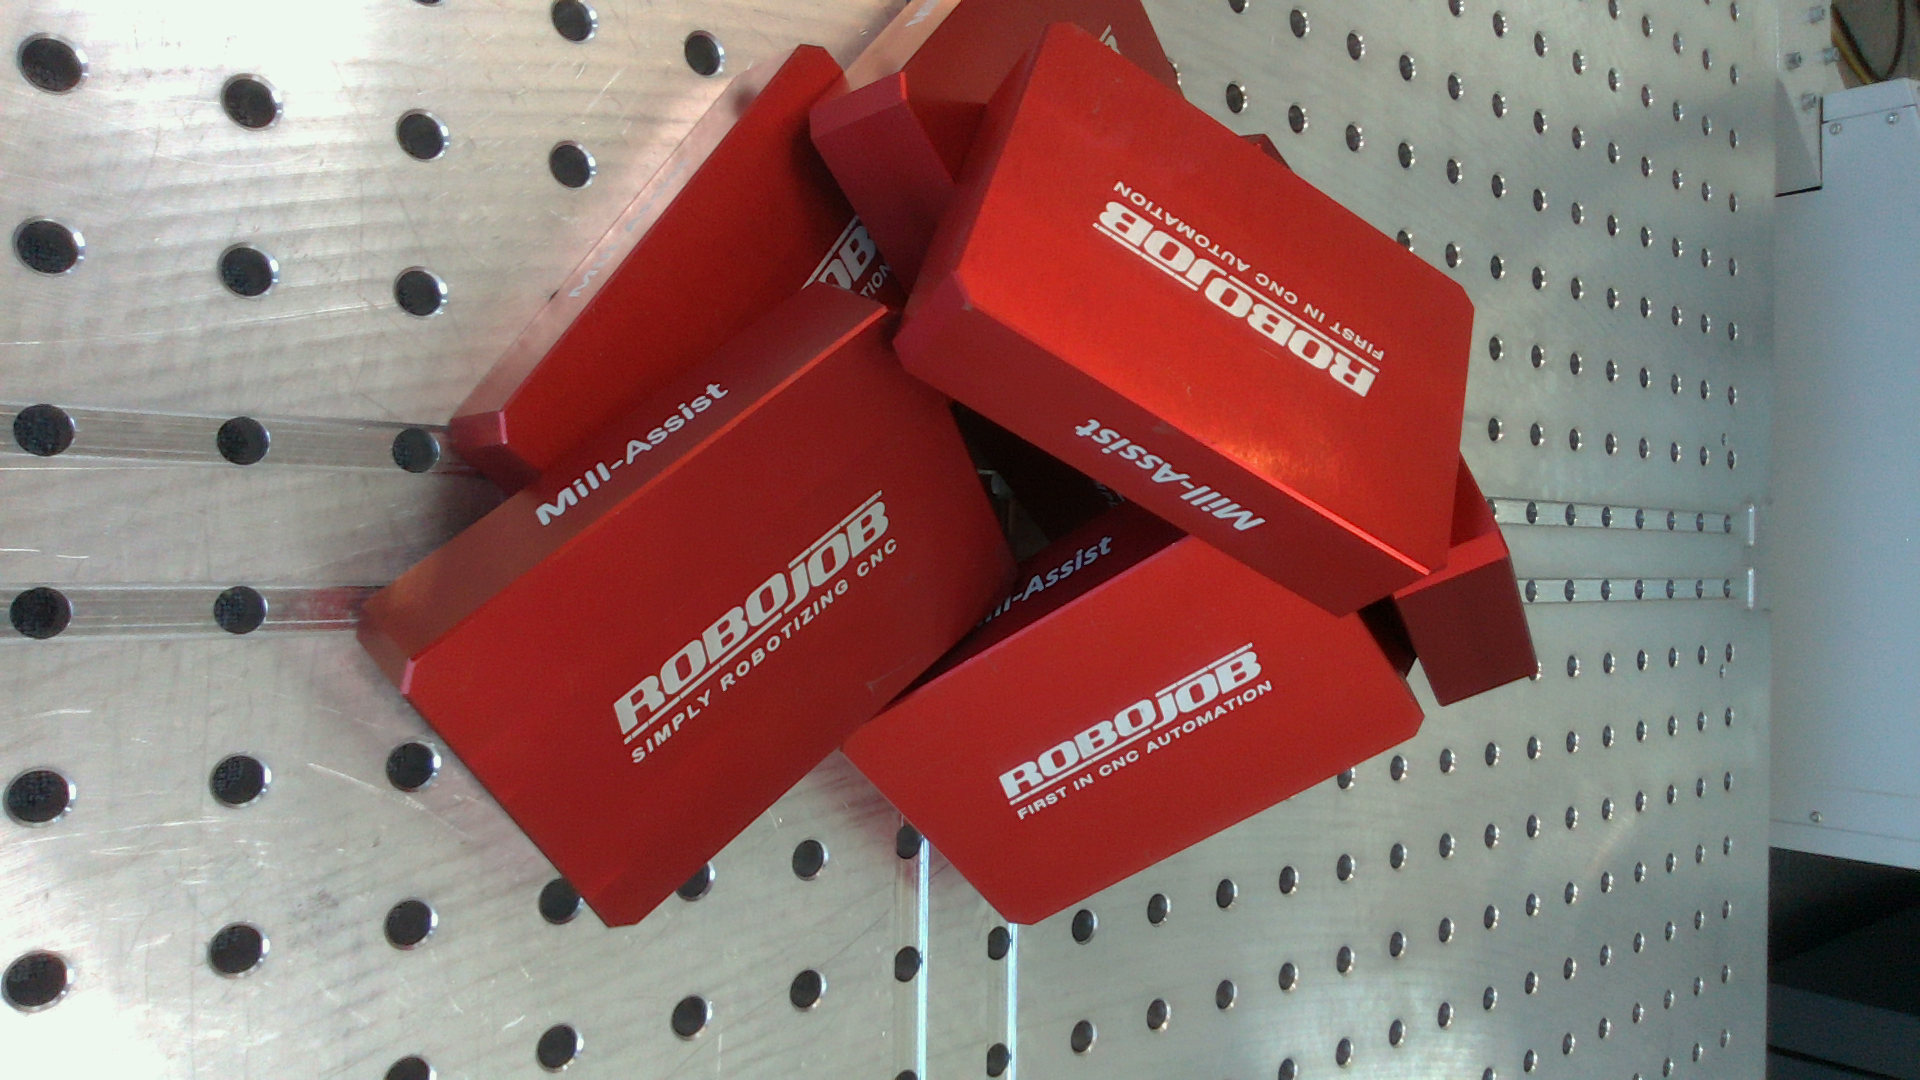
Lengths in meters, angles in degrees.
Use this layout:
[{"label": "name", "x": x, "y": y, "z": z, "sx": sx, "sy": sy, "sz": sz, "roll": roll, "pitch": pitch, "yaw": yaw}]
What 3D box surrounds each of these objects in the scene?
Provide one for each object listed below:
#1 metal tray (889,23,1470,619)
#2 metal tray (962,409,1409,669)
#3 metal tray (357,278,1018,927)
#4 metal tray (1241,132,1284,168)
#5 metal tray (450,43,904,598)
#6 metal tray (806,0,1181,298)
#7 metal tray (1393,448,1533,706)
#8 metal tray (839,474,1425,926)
[{"label": "metal tray", "x": 0.057, "y": -0.050, "z": 0.322, "sx": 0.130, "sy": 0.030, "sz": 0.090, "roll": 29, "pitch": 57, "yaw": -16}, {"label": "metal tray", "x": 0.070, "y": -0.006, "z": 0.408, "sx": 0.130, "sy": 0.090, "sz": 0.030, "roll": 52, "pitch": 60, "yaw": -27}, {"label": "metal tray", "x": -0.053, "y": 0.013, "z": 0.314, "sx": 0.130, "sy": 0.030, "sz": 0.090, "roll": -41, "pitch": 131, "yaw": -20}, {"label": "metal tray", "x": 0.096, "y": -0.061, "z": 0.439, "sx": 0.130, "sy": 0.030, "sz": 0.090, "roll": 19, "pitch": 77, "yaw": -59}, {"label": "metal tray", "x": -0.050, "y": -0.047, "z": 0.346, "sx": 0.090, "sy": 0.030, "sz": 0.130, "roll": 46, "pitch": 62, "yaw": -30}, {"label": "metal tray", "x": 0.020, "y": -0.112, "z": 0.380, "sx": 0.090, "sy": 0.030, "sz": 0.130, "roll": 56, "pitch": 44, "yaw": -27}, {"label": "metal tray", "x": 0.127, "y": -0.026, "z": 0.412, "sx": 0.090, "sy": 0.030, "sz": 0.130, "roll": 46, "pitch": 25, "yaw": -53}, {"label": "metal tray", "x": 0.044, "y": 0.043, "z": 0.368, "sx": 0.090, "sy": 0.130, "sz": 0.030, "roll": 51, "pitch": 18, "yaw": -28}]
